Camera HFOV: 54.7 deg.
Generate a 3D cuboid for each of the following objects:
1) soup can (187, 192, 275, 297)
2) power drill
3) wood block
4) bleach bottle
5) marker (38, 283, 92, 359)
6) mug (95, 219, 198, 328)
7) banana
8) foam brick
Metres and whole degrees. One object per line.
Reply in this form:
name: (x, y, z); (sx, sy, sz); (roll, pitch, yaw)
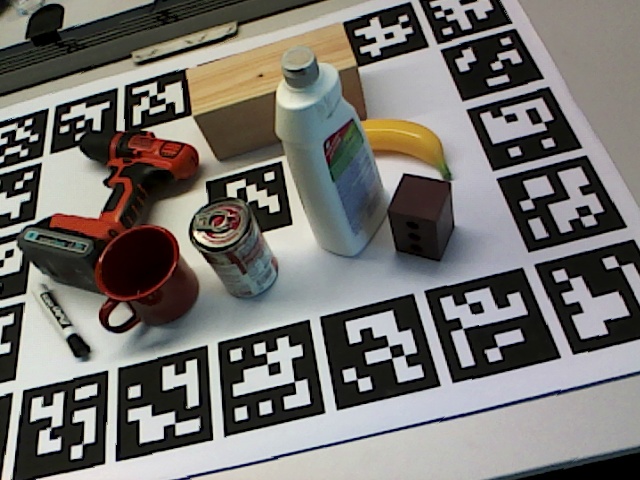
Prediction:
soup can: (-0.093, 0.007, 0.664); (0.068, 0.101, 0.068); (-7, 51, 9)
power drill: (-0.258, -0.051, 0.788); (0.185, 0.057, 0.187); (12, 60, 18)
wood block: (-0.048, -0.185, 0.797); (0.206, 0.090, 0.090); (-15, 56, 5)
bleach bottle: (0.009, -0.085, 0.615); (0.068, 0.249, 0.102); (11, 59, 22)
marker: (-0.298, 0.095, 0.721); (0.019, 0.019, 0.122); (-40, 57, -10)
mug: (-0.193, 0.046, 0.684); (0.094, 0.081, 0.117); (26, 70, 26)
banana: (0.048, -0.121, 0.755); (0.198, 0.038, 0.074); (0, 71, 12)
foam brick: (0.110, -0.019, 0.652); (0.053, 0.077, 0.051); (15, 60, 25)
